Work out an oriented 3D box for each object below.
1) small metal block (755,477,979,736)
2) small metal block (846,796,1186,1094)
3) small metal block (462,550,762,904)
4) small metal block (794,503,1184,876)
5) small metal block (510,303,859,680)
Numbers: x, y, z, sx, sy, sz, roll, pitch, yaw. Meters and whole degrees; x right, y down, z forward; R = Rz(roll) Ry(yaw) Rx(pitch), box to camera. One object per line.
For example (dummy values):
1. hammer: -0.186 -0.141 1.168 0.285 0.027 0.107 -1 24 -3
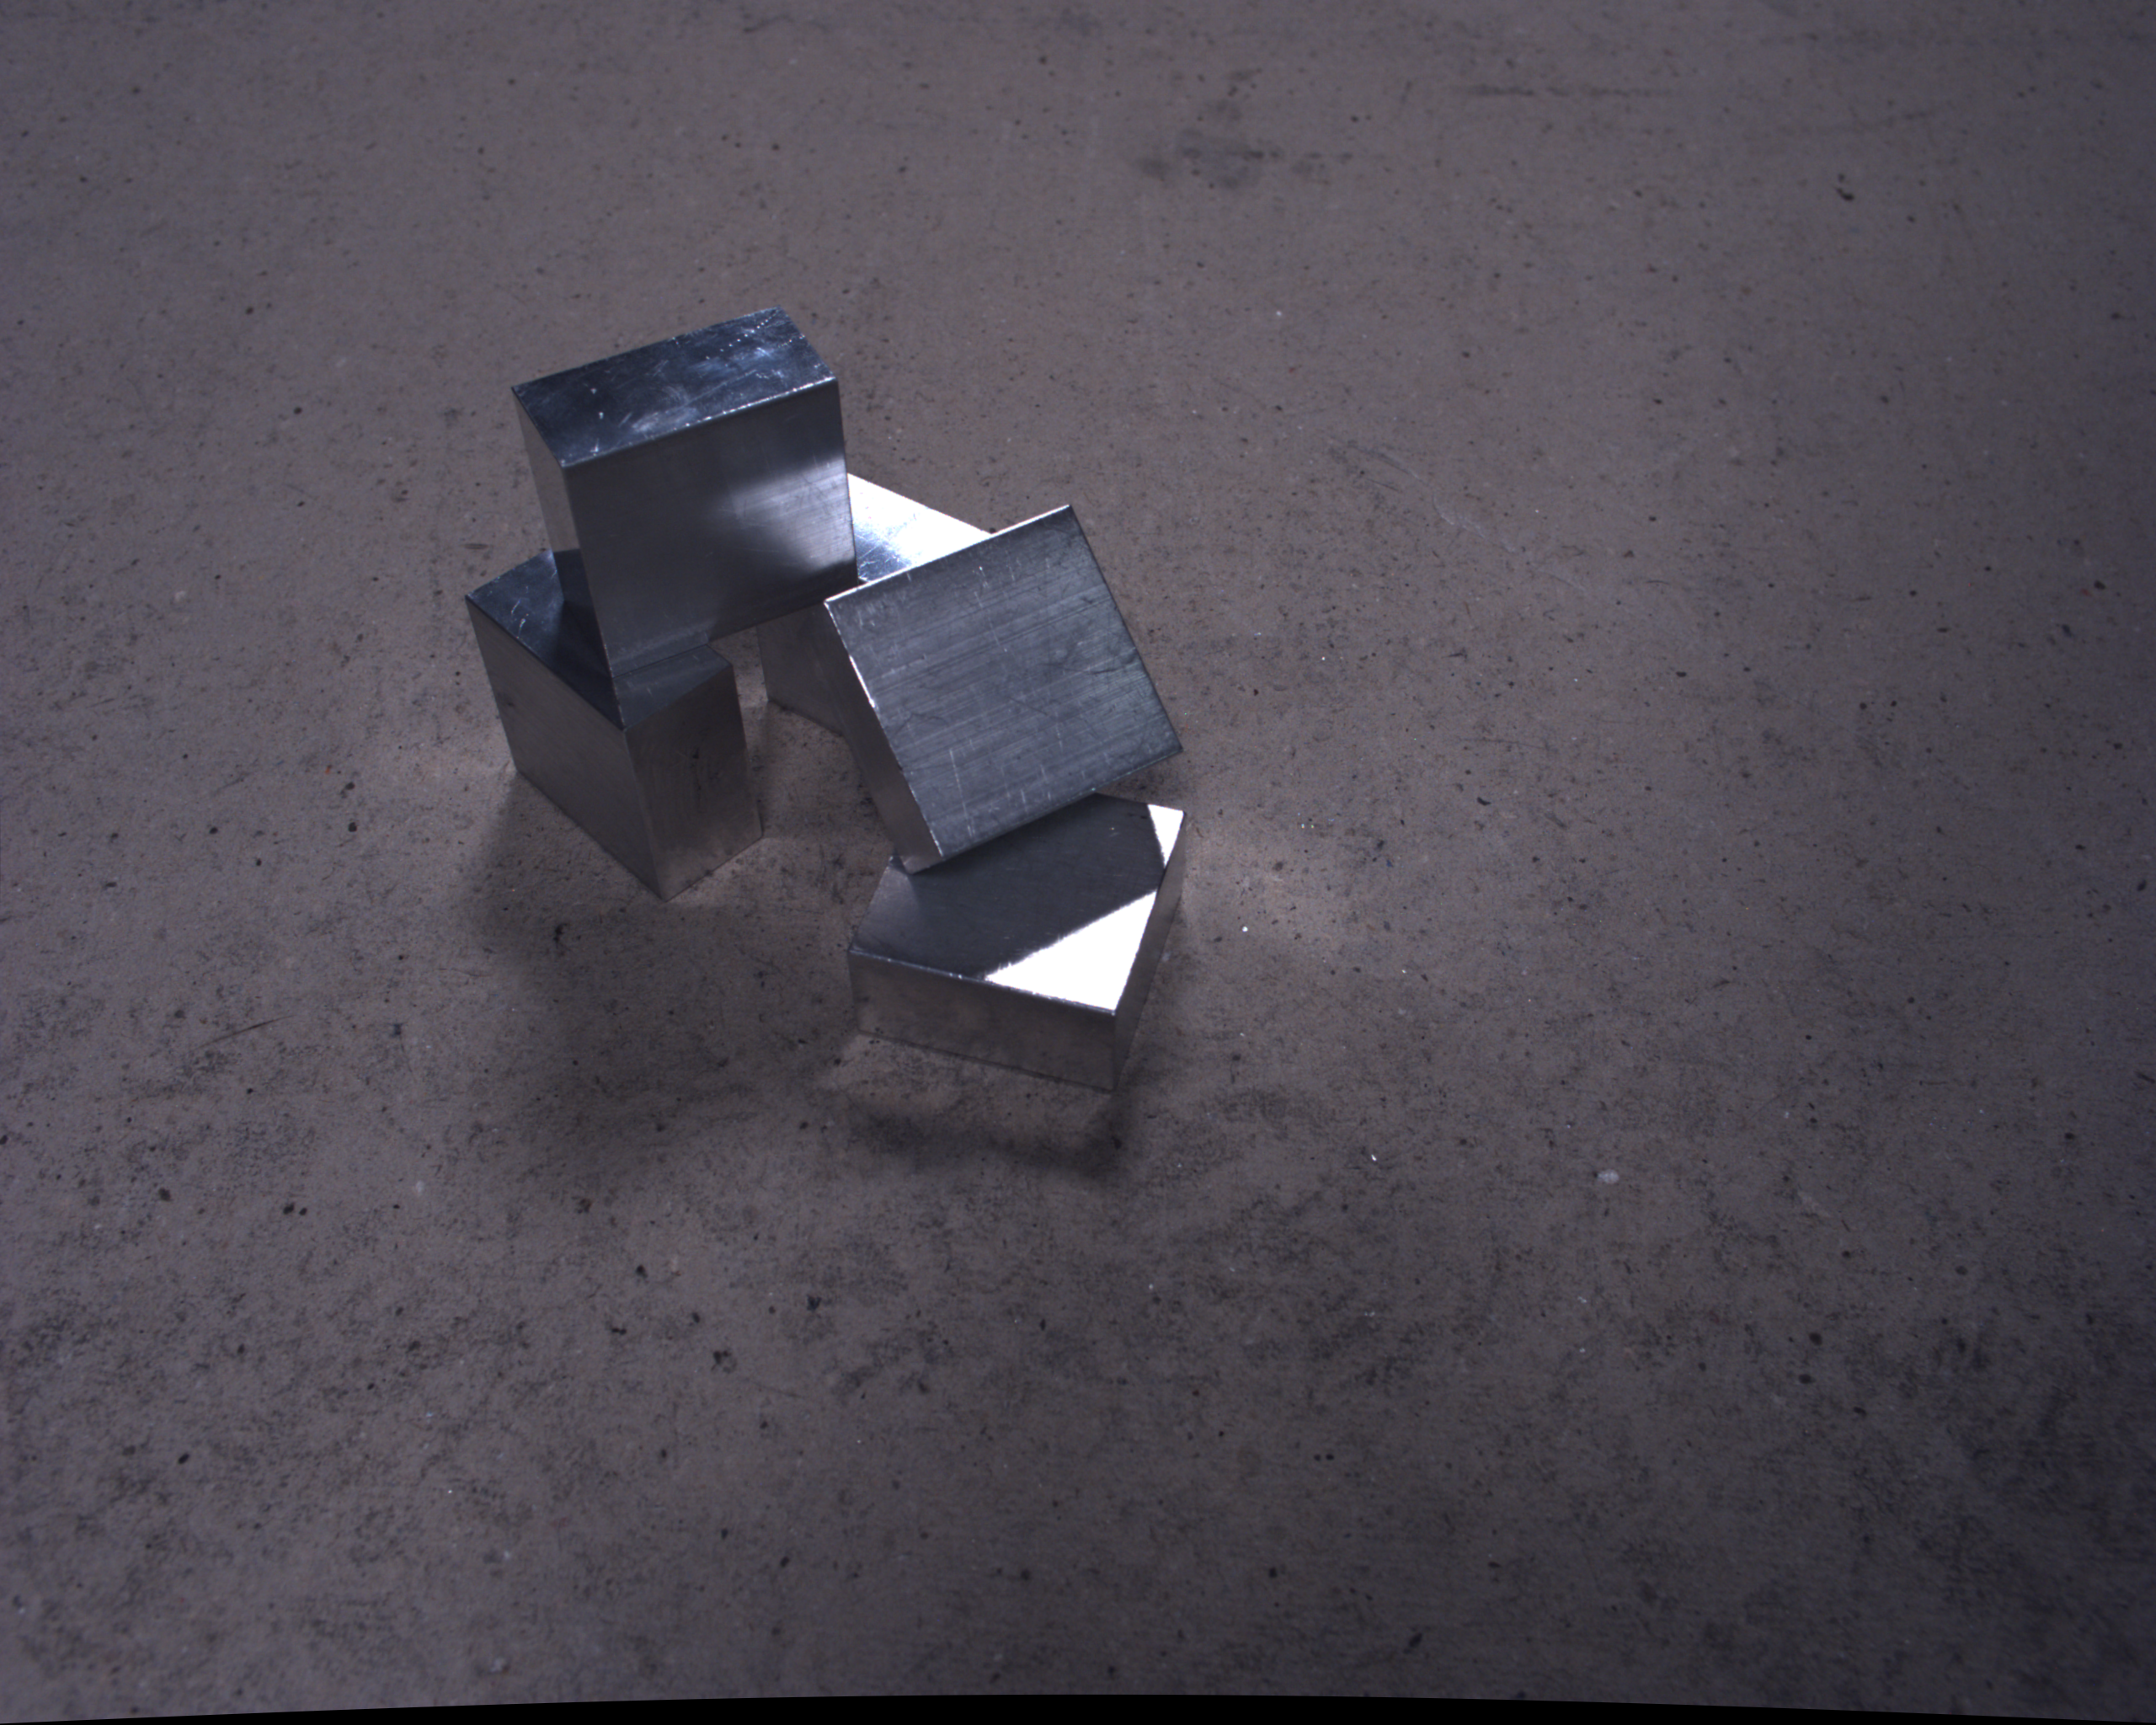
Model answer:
1. small metal block: -0.039 -0.048 0.429 0.050 0.050 0.025 26 55 19
2. small metal block: -0.011 0.011 0.395 0.050 0.025 0.050 13 51 10
3. small metal block: -0.091 -0.028 0.411 0.050 0.050 0.025 38 59 27
4. small metal block: -0.017 -0.031 0.383 0.050 0.025 0.050 -25 92 -20
5. small metal block: -0.070 -0.067 0.379 0.050 0.050 0.025 -23 54 -19
